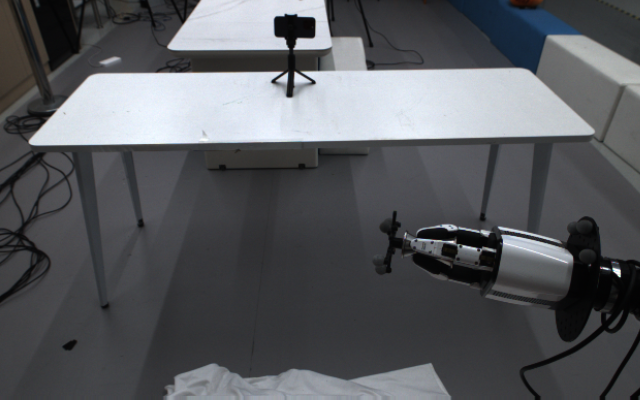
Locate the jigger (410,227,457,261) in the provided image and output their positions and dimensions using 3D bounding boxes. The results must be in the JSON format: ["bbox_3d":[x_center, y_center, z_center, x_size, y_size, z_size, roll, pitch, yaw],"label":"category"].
[{"bbox_3d":[0.154,0.061,0.656,0.071,0.043,0.043,8,35,15],"label":"jigger"}]
